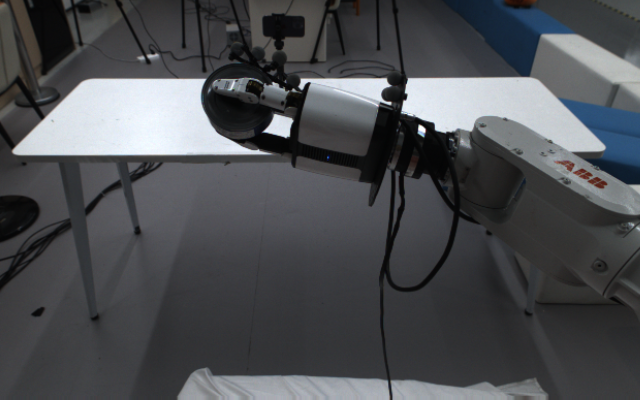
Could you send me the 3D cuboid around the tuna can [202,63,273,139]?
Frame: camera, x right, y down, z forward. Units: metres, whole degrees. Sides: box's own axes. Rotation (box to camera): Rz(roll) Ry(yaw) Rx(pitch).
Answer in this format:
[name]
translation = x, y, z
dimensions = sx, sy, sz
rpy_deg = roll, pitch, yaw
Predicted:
[tuna can]
translation = -0.096, -0.117, 0.581
dimensions = 0.085, 0.034, 0.085
rpy_deg = 1, 76, -4
